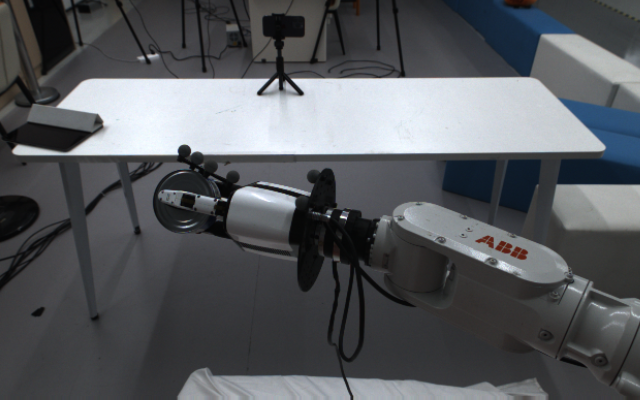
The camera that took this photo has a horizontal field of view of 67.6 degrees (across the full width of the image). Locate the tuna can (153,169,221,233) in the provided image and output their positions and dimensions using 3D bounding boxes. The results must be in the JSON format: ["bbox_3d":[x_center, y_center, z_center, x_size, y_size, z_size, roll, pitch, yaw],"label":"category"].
[{"bbox_3d":[-0.177,0.004,0.653,0.085,0.085,0.034,9,-5,10],"label":"tuna can"}]
